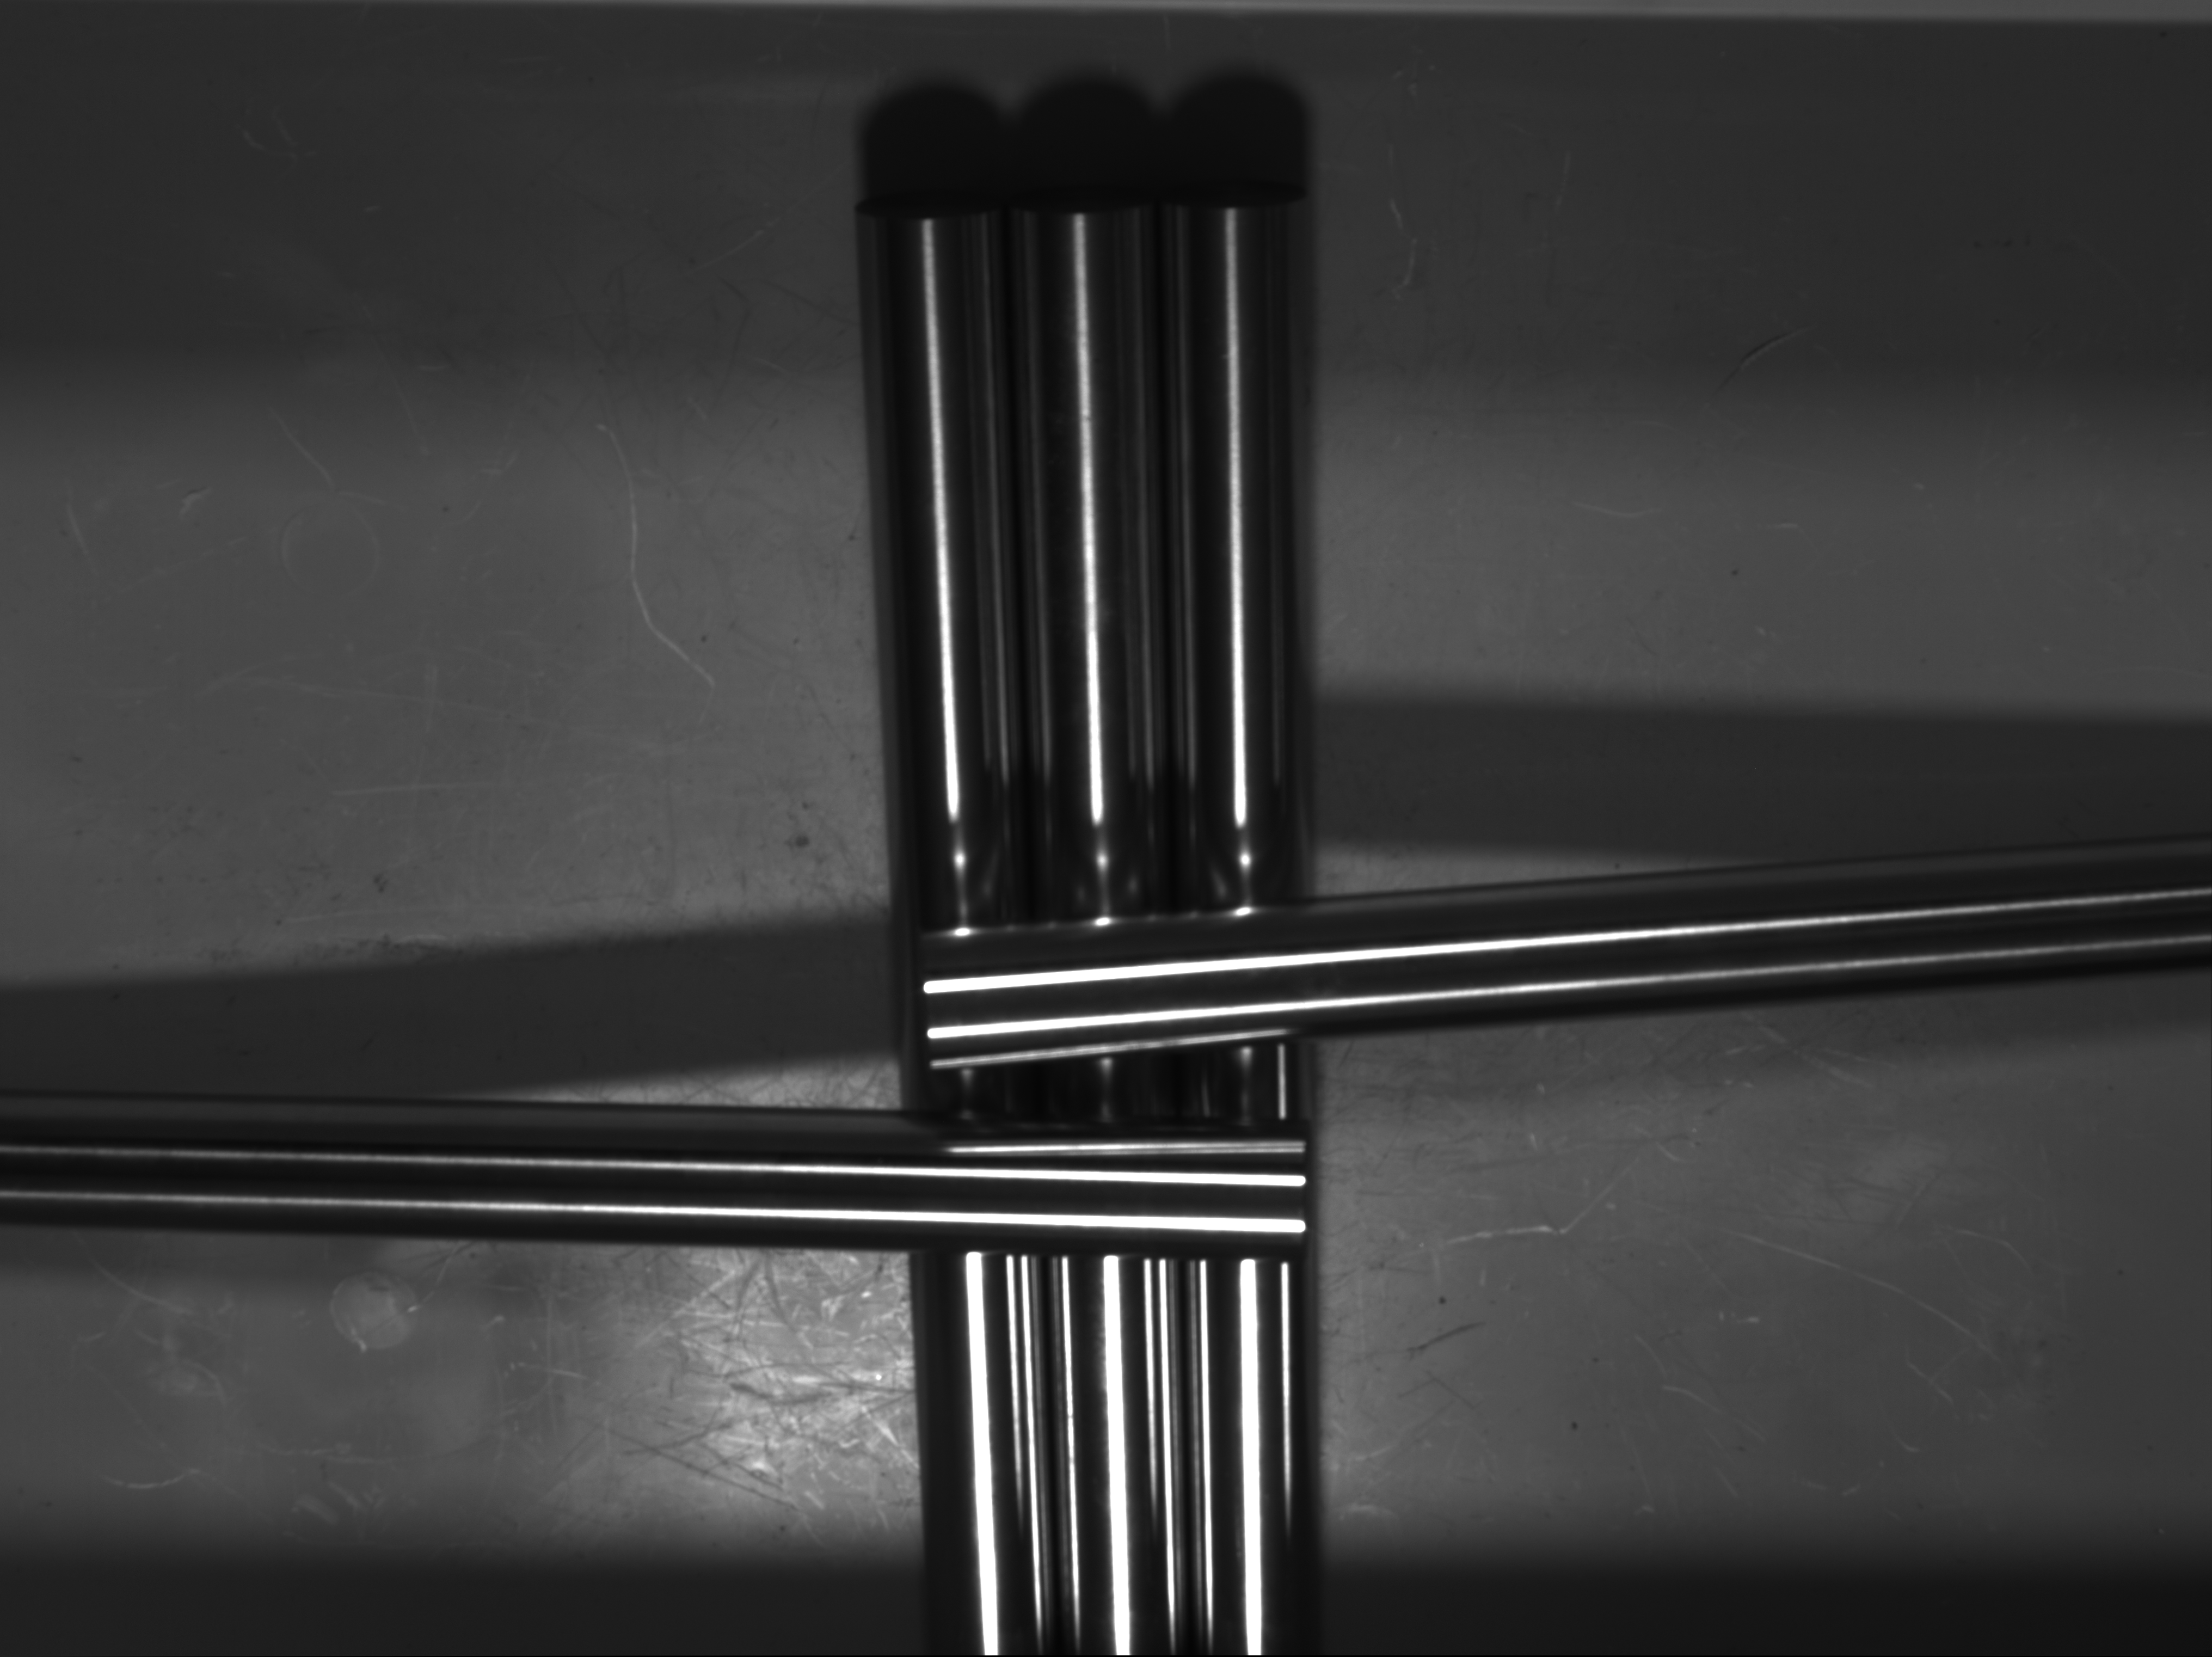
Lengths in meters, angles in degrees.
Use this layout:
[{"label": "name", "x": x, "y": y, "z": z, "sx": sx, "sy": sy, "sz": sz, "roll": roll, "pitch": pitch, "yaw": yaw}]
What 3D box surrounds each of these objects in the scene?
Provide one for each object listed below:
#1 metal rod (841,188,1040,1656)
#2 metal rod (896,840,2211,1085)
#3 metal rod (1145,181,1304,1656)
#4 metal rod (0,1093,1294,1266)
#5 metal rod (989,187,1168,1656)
[{"label": "metal rod", "x": -0.028, "y": 0.038, "z": 0.655, "sx": 0.025, "sy": 0.025, "sz": 0.300, "roll": -1, "pitch": 110, "yaw": 0}, {"label": "metal rod", "x": 0.114, "y": 0.020, "z": 0.632, "sx": 0.300, "sy": 0.025, "sz": 0.025, "roll": -4, "pitch": 110, "yaw": -6}, {"label": "metal rod", "x": 0.022, "y": 0.036, "z": 0.656, "sx": 0.025, "sy": 0.025, "sz": 0.300, "roll": -1, "pitch": 110, "yaw": 0}, {"label": "metal rod", "x": -0.117, "y": 0.061, "z": 0.646, "sx": 0.300, "sy": 0.025, "sz": 0.025, "roll": 1, "pitch": 110, "yaw": 5}, {"label": "metal rod", "x": -0.003, "y": 0.037, "z": 0.656, "sx": 0.025, "sy": 0.025, "sz": 0.300, "roll": -1, "pitch": 110, "yaw": 0}]
